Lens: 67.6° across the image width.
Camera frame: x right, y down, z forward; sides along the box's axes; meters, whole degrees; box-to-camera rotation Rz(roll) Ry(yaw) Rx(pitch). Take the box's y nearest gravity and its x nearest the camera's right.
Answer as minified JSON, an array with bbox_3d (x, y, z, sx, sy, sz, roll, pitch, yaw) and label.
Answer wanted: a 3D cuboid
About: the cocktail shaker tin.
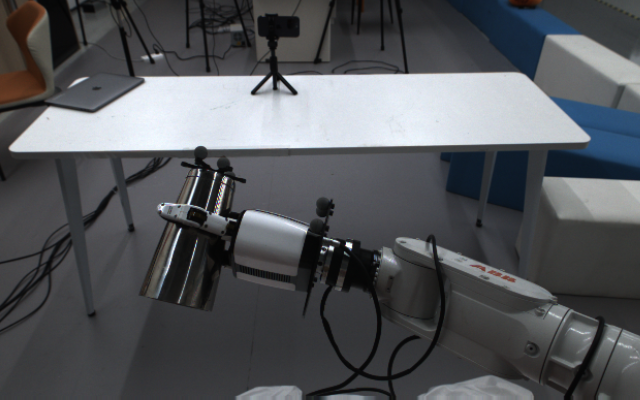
[{"bbox_3d":[-0.164,0.051,0.626,0.093,0.093,0.170,10,74,11],"label":"cocktail shaker tin"}]
